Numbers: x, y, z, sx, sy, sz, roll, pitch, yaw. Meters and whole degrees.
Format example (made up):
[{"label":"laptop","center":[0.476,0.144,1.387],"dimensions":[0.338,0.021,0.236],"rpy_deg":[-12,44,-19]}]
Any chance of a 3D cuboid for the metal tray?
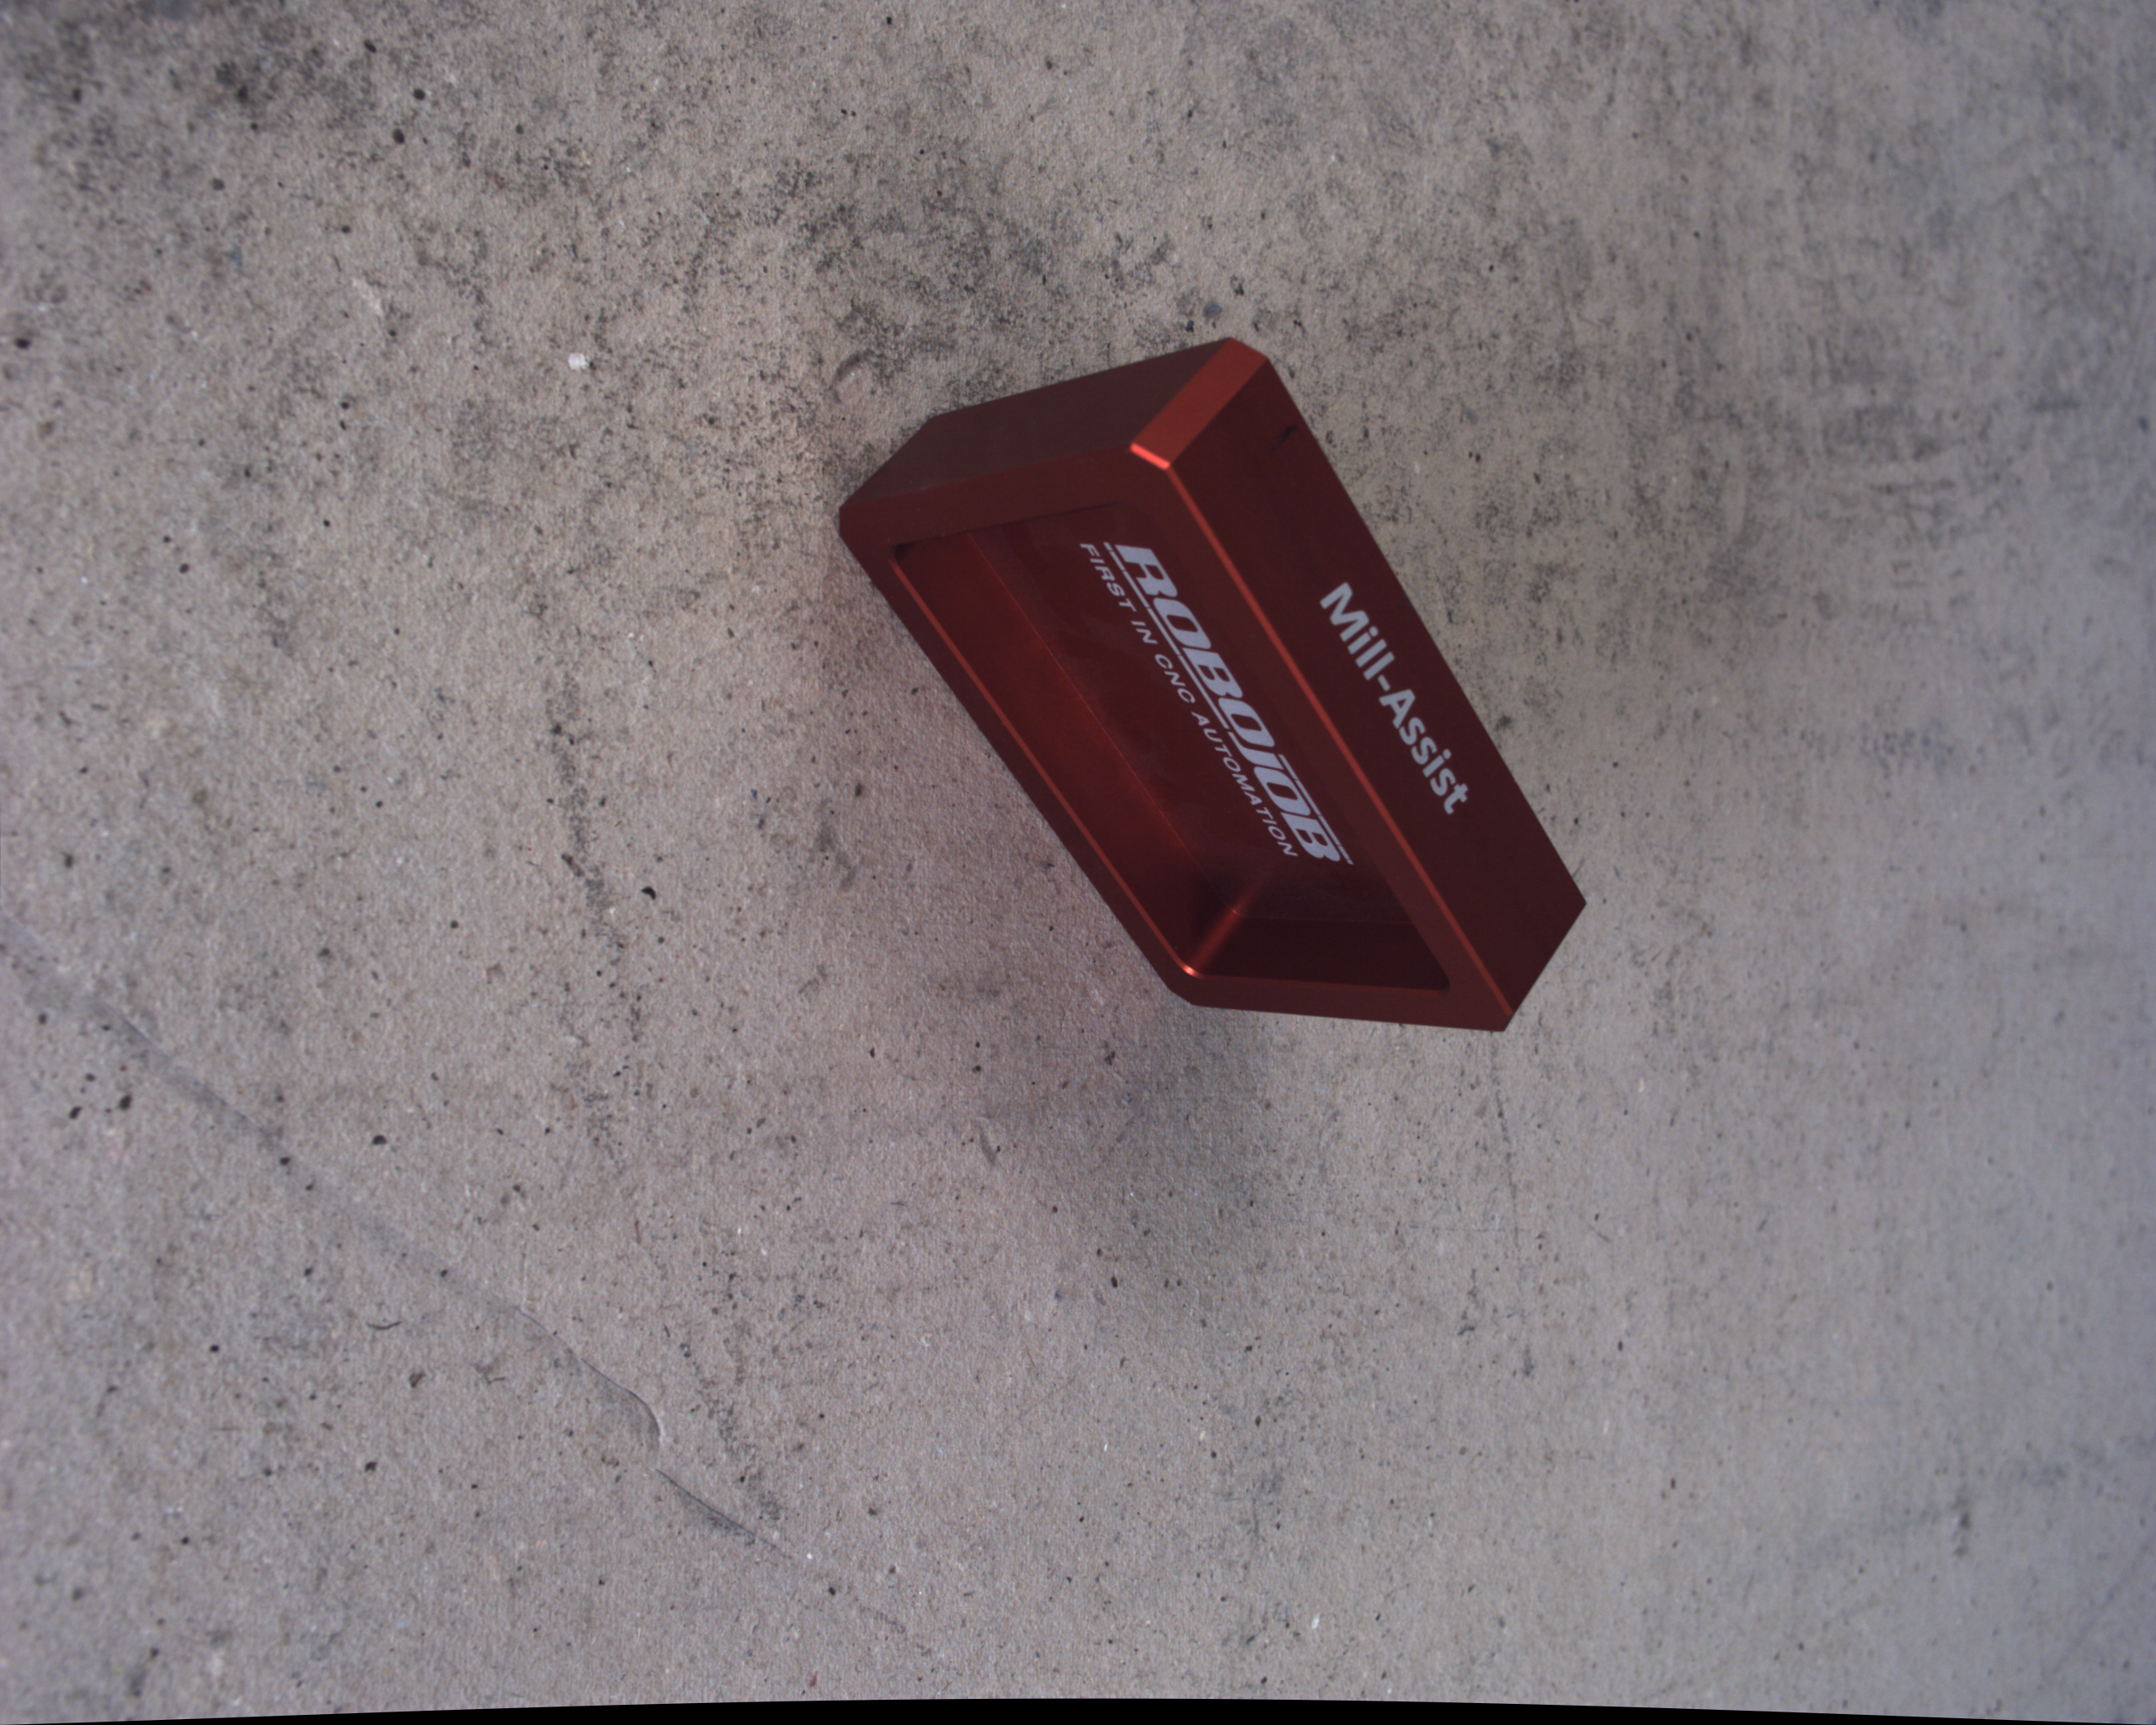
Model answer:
[{"label":"metal tray","center":[0.025,-0.027,0.383],"dimensions":[0.030,0.090,0.130],"rpy_deg":[-51,121,-28]}]
